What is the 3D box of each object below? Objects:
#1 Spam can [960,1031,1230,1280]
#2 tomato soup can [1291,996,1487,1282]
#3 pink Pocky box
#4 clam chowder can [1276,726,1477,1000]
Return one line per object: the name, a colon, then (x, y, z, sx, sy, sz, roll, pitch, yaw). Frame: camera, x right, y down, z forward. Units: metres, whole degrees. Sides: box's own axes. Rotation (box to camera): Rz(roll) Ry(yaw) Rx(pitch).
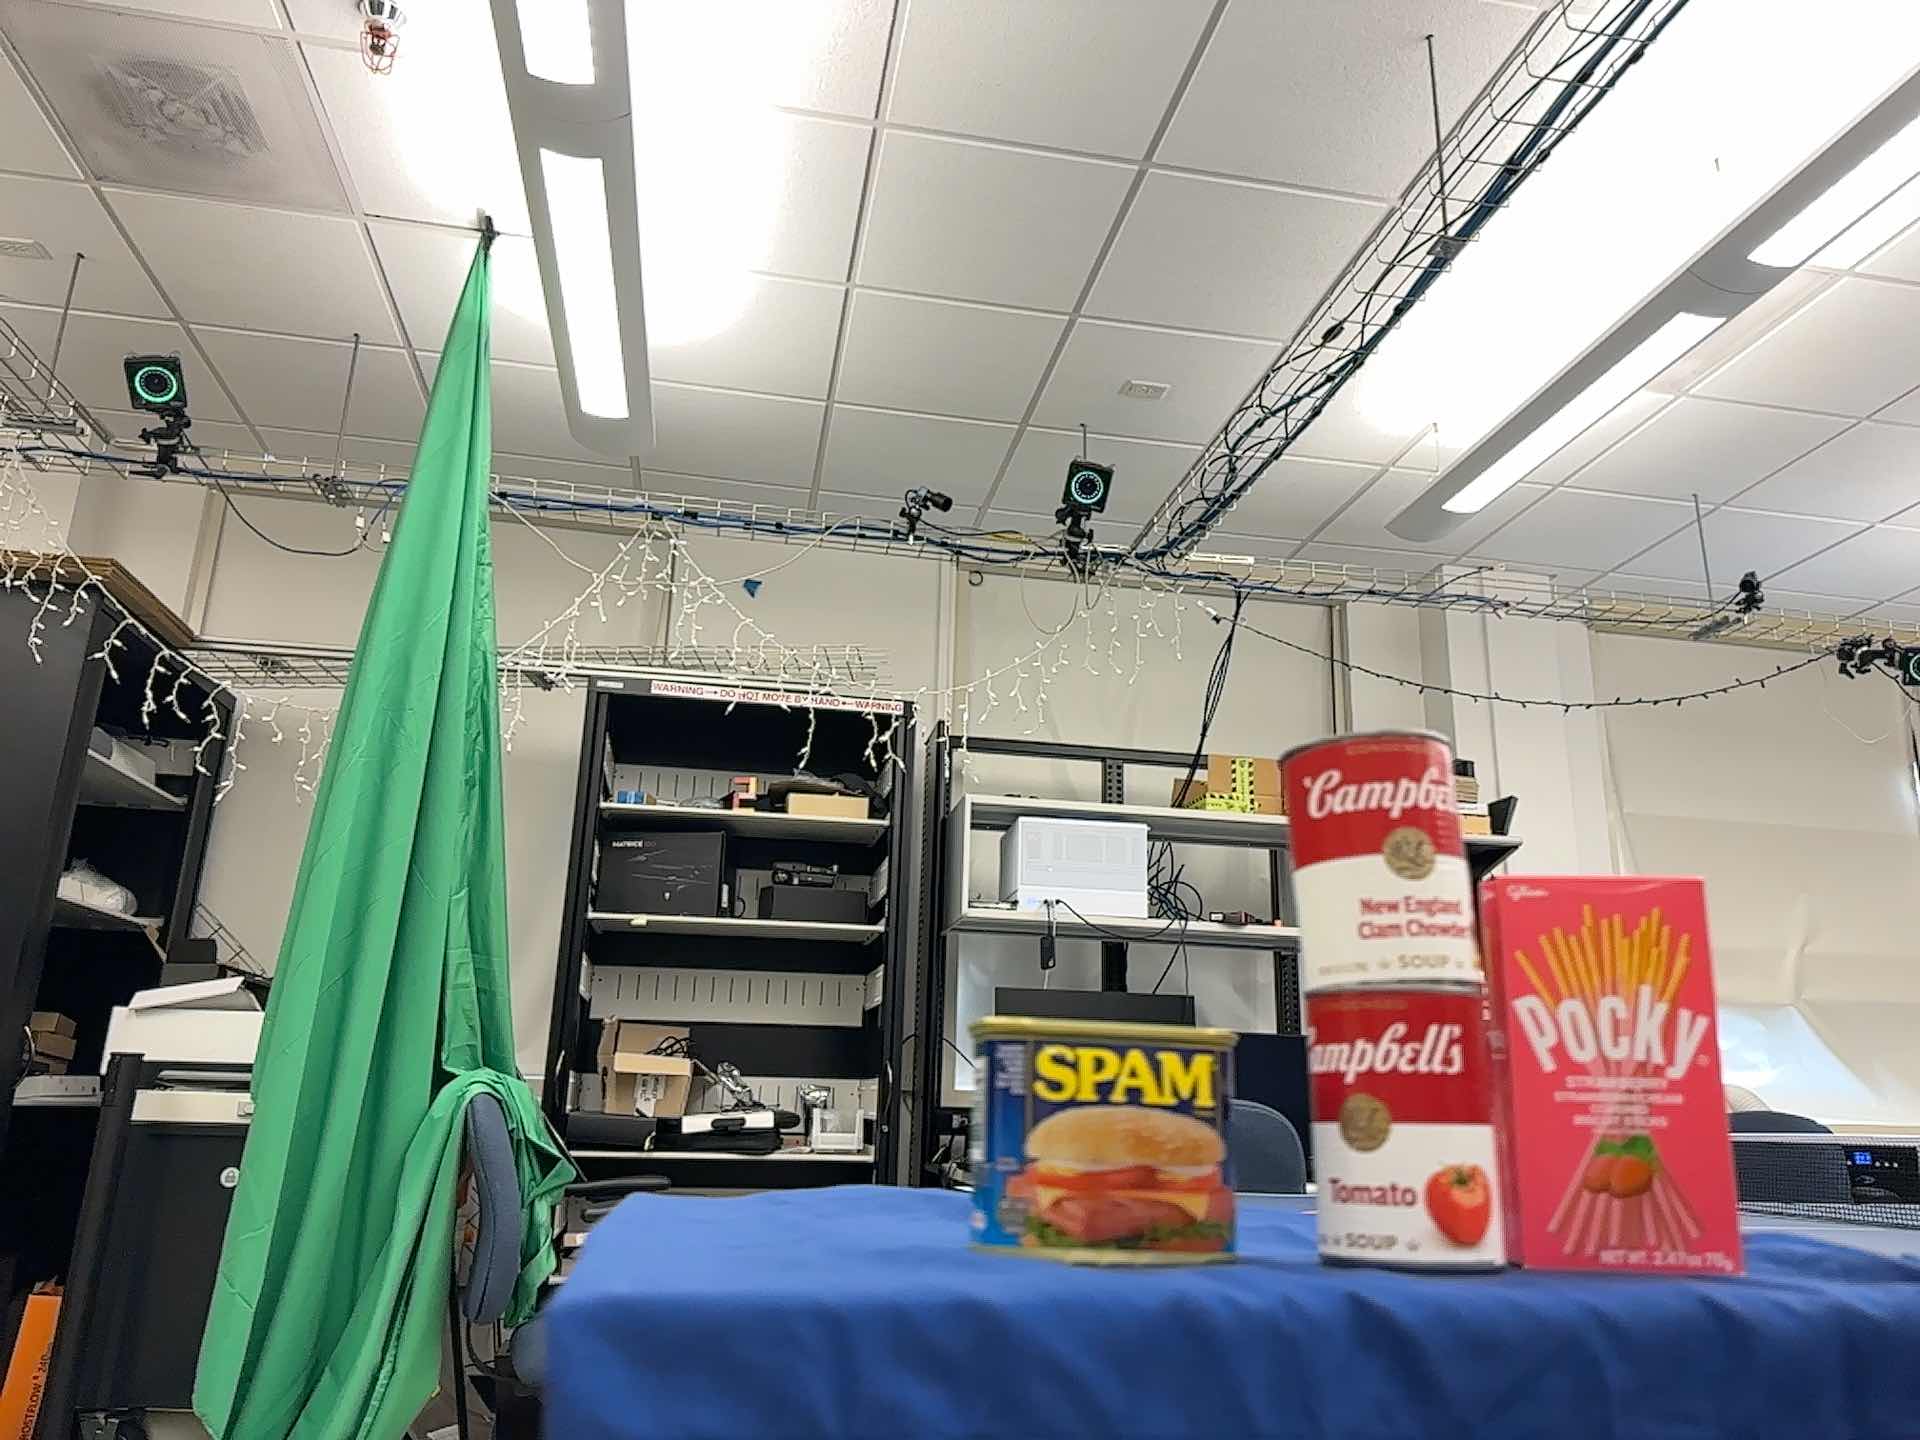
Spam can: (0.051, 0.165, 0.517, 0.100, 0.083, 0.056, 5, -15, -10)
tomato soup can: (0.166, 0.162, 0.526, 0.067, 0.102, 0.067, 1, -15, 0)
pink Pocky box: (0.249, 0.139, 0.526, 0.084, 0.154, 0.029, -1, -12, 2)
clam chowder can: (0.167, 0.061, 0.546, 0.068, 0.102, 0.068, -1, -18, -1)
